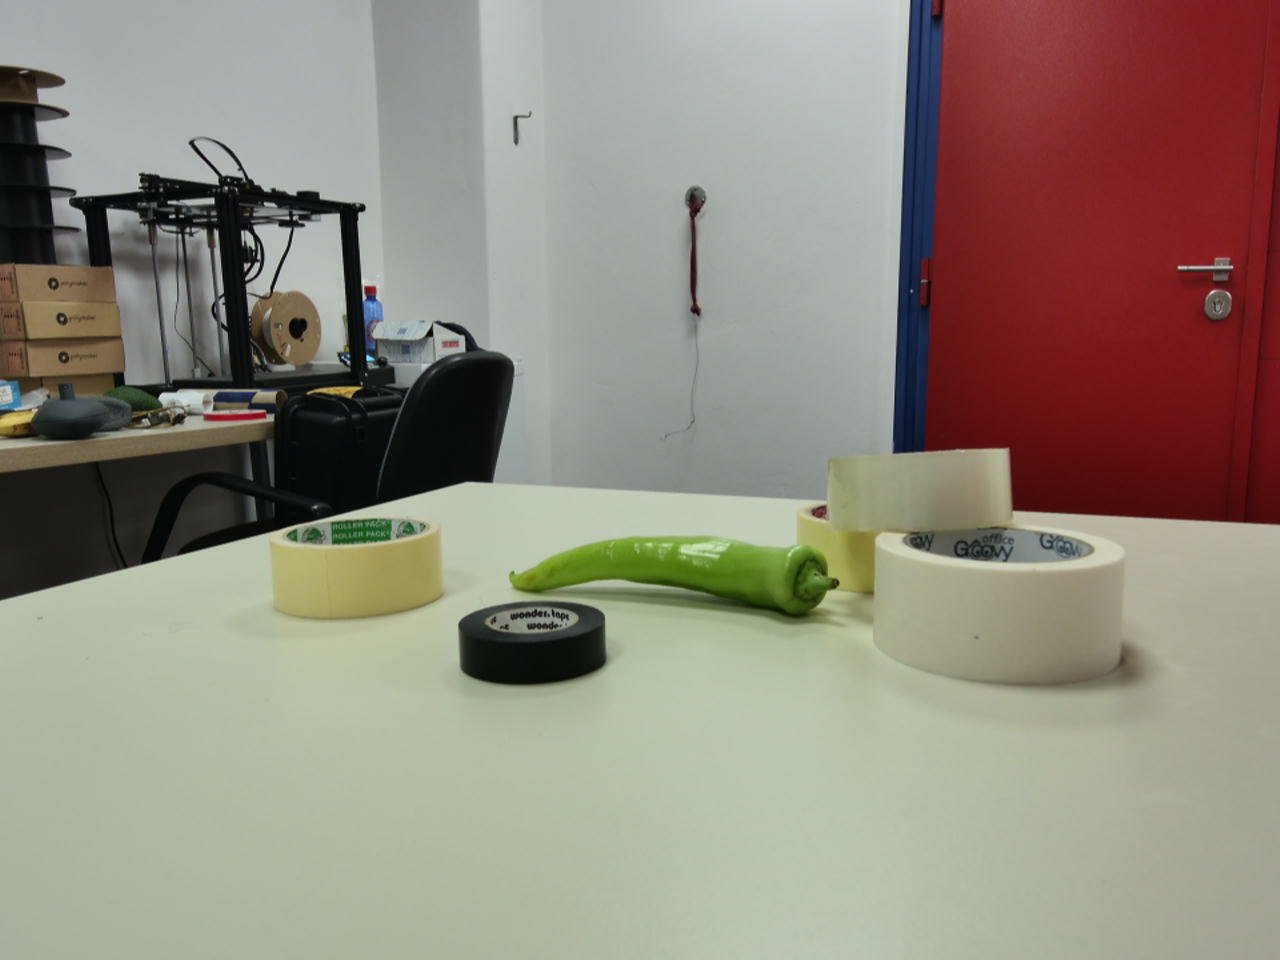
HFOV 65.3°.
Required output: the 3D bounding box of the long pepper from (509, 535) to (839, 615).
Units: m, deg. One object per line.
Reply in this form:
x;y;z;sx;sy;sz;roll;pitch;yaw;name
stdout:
0.017;0.048;0.550;0.197;0.038;0.046;3;6;26;long pepper
